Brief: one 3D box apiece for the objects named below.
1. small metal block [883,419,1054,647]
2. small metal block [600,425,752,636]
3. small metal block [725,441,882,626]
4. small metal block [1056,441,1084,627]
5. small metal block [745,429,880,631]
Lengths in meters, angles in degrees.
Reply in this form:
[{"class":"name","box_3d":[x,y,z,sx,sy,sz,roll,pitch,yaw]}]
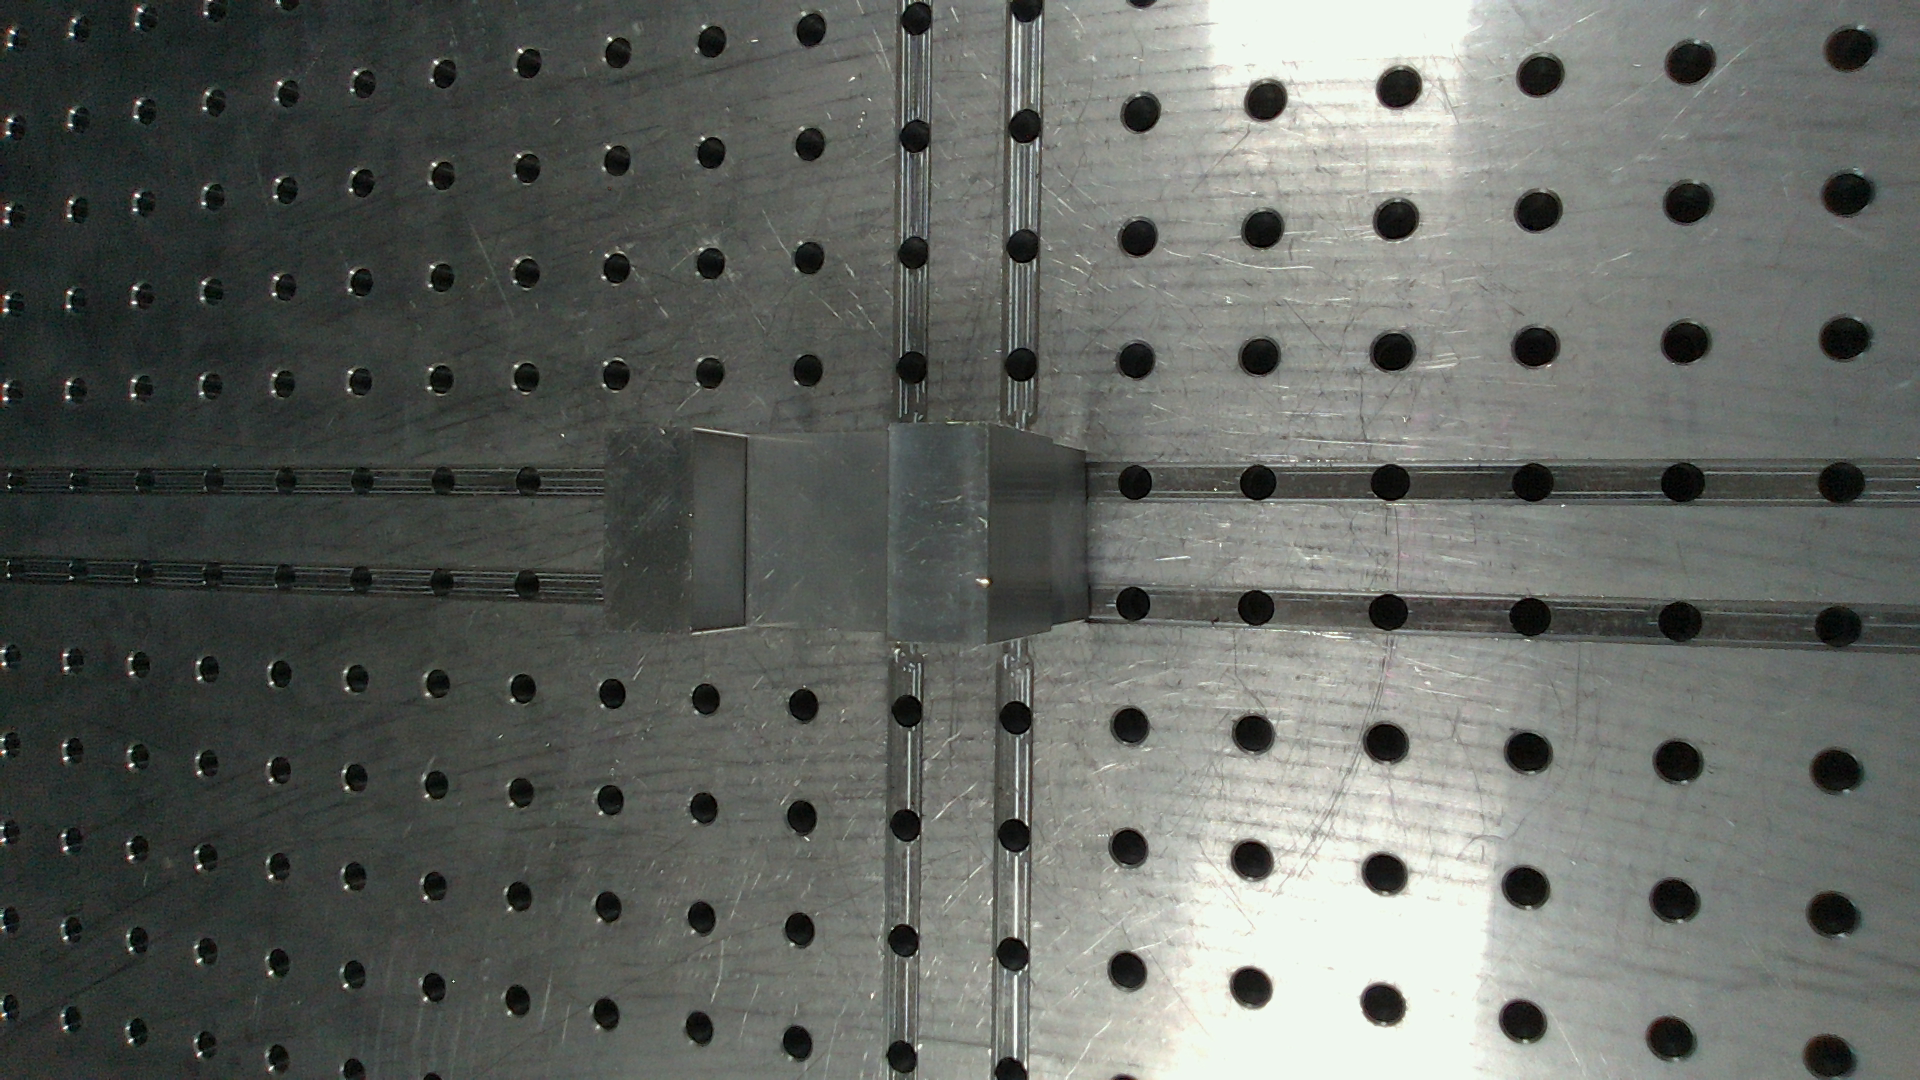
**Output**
[{"class":"small metal block","box_3d":[0.003,-0.001,0.329,0.025,0.050,0.050,1,90,21]},{"class":"small metal block","box_3d":[-0.067,-0.002,0.355,0.025,0.050,0.050,1,90,21]},{"class":"small metal block","box_3d":[-0.045,-0.002,0.400,0.025,0.050,0.050,1,90,20]},{"class":"small metal block","box_3d":[0.016,-0.002,0.379,0.025,0.050,0.050,-1,90,20]},{"class":"small metal block","box_3d":[-0.027,-0.003,0.356,0.050,0.025,0.050,1,90,20]}]
